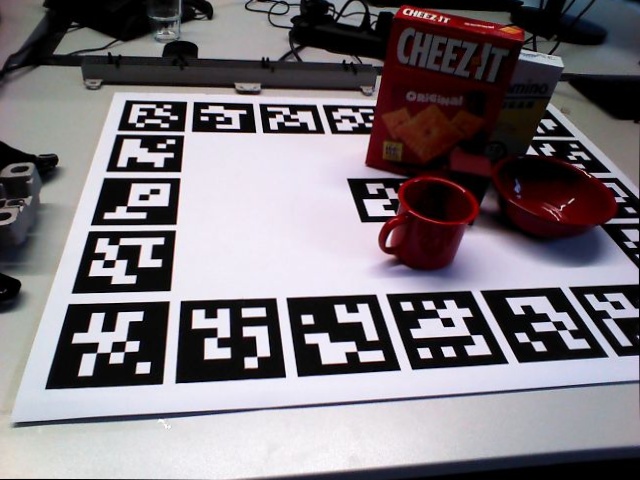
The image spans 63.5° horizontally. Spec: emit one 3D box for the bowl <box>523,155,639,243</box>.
[{"bbox_3d":[0.328,-0.046,0.672,0.162,0.055,0.161,4,41,-4],"label":"bowl"}]

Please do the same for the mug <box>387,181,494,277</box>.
[{"bbox_3d":[0.133,-0.010,0.593,0.117,0.082,0.093,-8,34,-14],"label":"mug"}]

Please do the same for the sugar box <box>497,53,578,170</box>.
[{"bbox_3d":[0.288,-0.179,0.744,0.093,0.177,0.045,13,41,8],"label":"sugar box"}]

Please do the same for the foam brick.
[{"bbox_3d":[0.202,-0.063,0.681,0.053,0.078,0.051,9,40,4],"label":"foam brick"}]

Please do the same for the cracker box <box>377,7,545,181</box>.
[{"bbox_3d":[0.182,-0.183,0.707,0.165,0.214,0.071,20,40,14],"label":"cracker box"}]
